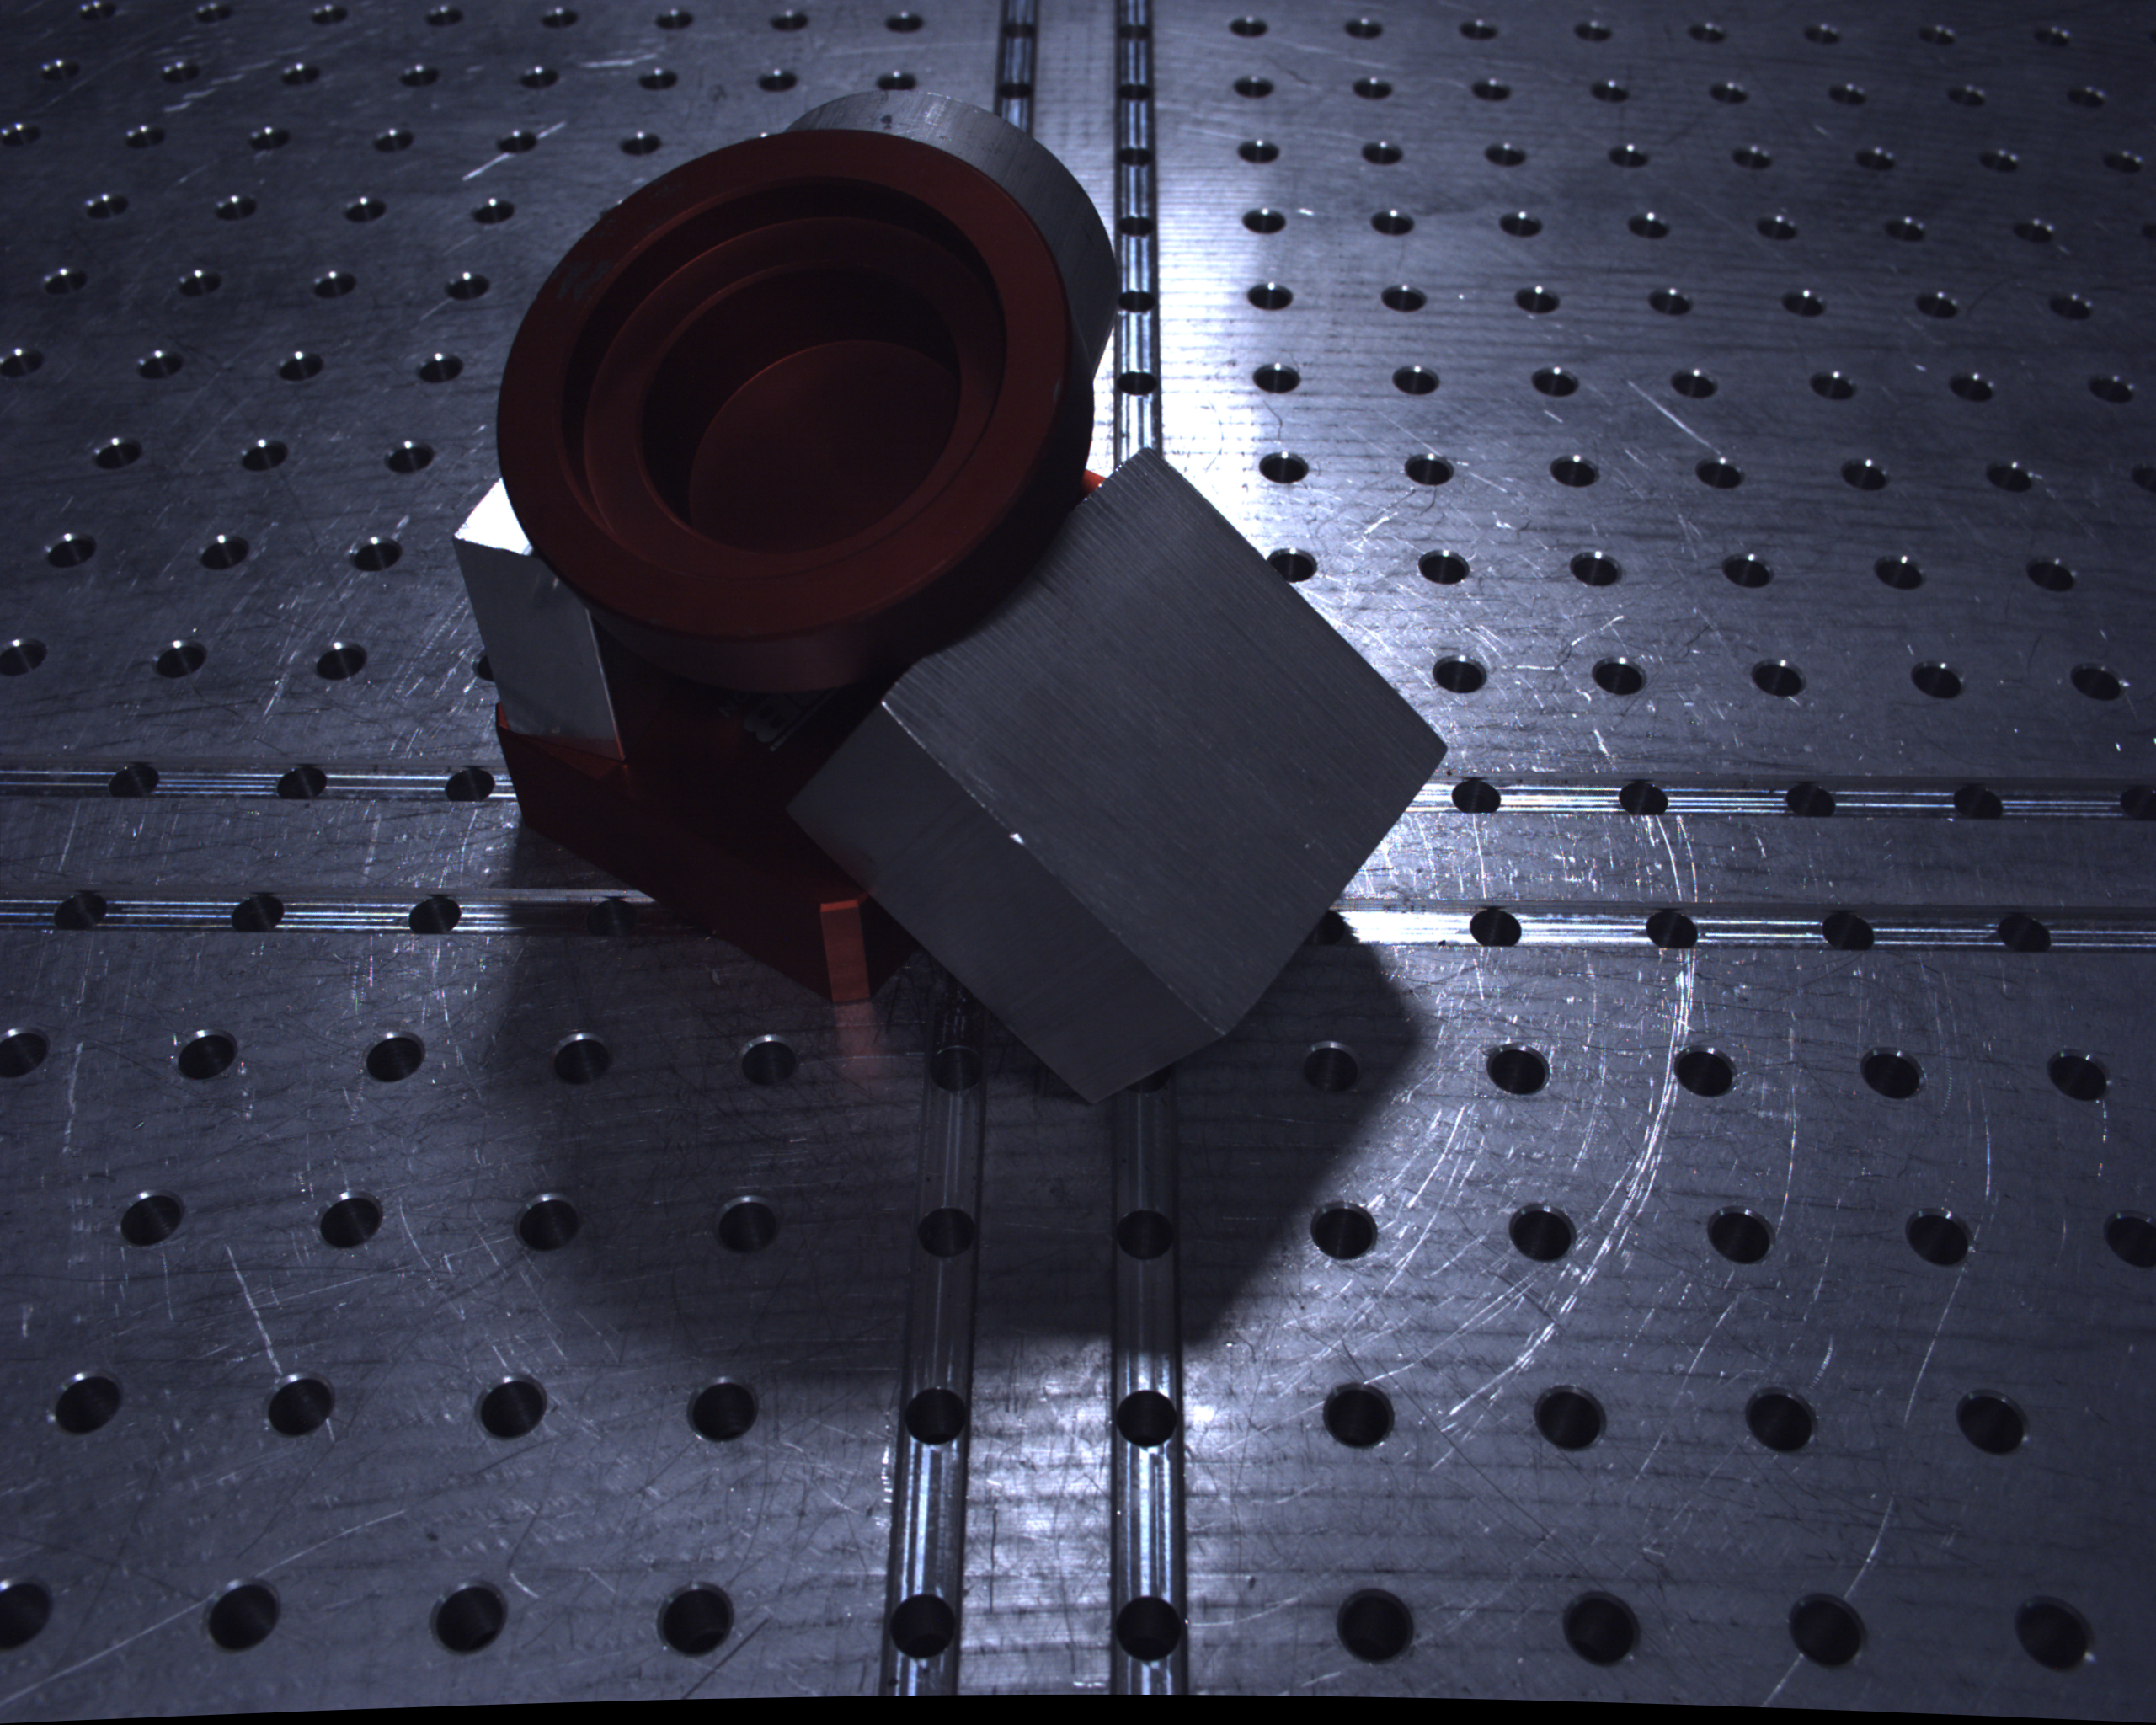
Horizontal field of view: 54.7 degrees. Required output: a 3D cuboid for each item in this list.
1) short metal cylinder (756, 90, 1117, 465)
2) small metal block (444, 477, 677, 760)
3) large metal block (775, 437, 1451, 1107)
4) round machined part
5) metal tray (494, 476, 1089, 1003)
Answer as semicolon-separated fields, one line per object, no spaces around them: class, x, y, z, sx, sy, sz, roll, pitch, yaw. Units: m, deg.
short metal cylinder;-0.037;-0.106;0.421;0.080;0.080;0.050;10;51;8
small metal block;-0.091;-0.057;0.397;0.025;0.050;0.050;15;52;12
large metal block;0.007;-0.016;0.381;0.080;0.050;0.080;44;57;-5
round machined part;-0.046;-0.074;0.361;0.098;0.042;0.098;-4;70;10
metal tray;-0.044;-0.040;0.438;0.090;0.030;0.131;28;55;21
